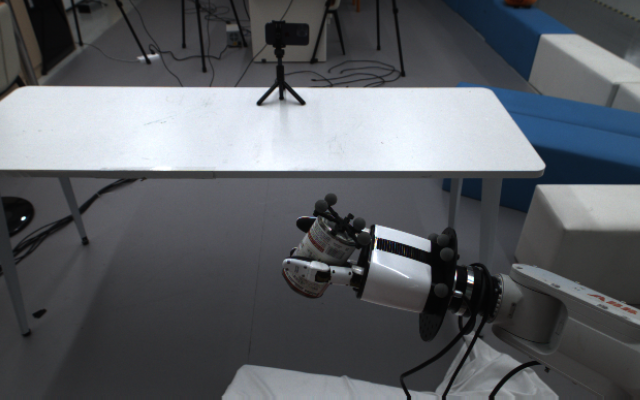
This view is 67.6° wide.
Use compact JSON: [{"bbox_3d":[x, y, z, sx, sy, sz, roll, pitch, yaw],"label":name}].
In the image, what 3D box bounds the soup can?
[{"bbox_3d":[0.003,0.076,0.662,0.067,0.101,0.067,28,22,-12],"label":"soup can"}]
